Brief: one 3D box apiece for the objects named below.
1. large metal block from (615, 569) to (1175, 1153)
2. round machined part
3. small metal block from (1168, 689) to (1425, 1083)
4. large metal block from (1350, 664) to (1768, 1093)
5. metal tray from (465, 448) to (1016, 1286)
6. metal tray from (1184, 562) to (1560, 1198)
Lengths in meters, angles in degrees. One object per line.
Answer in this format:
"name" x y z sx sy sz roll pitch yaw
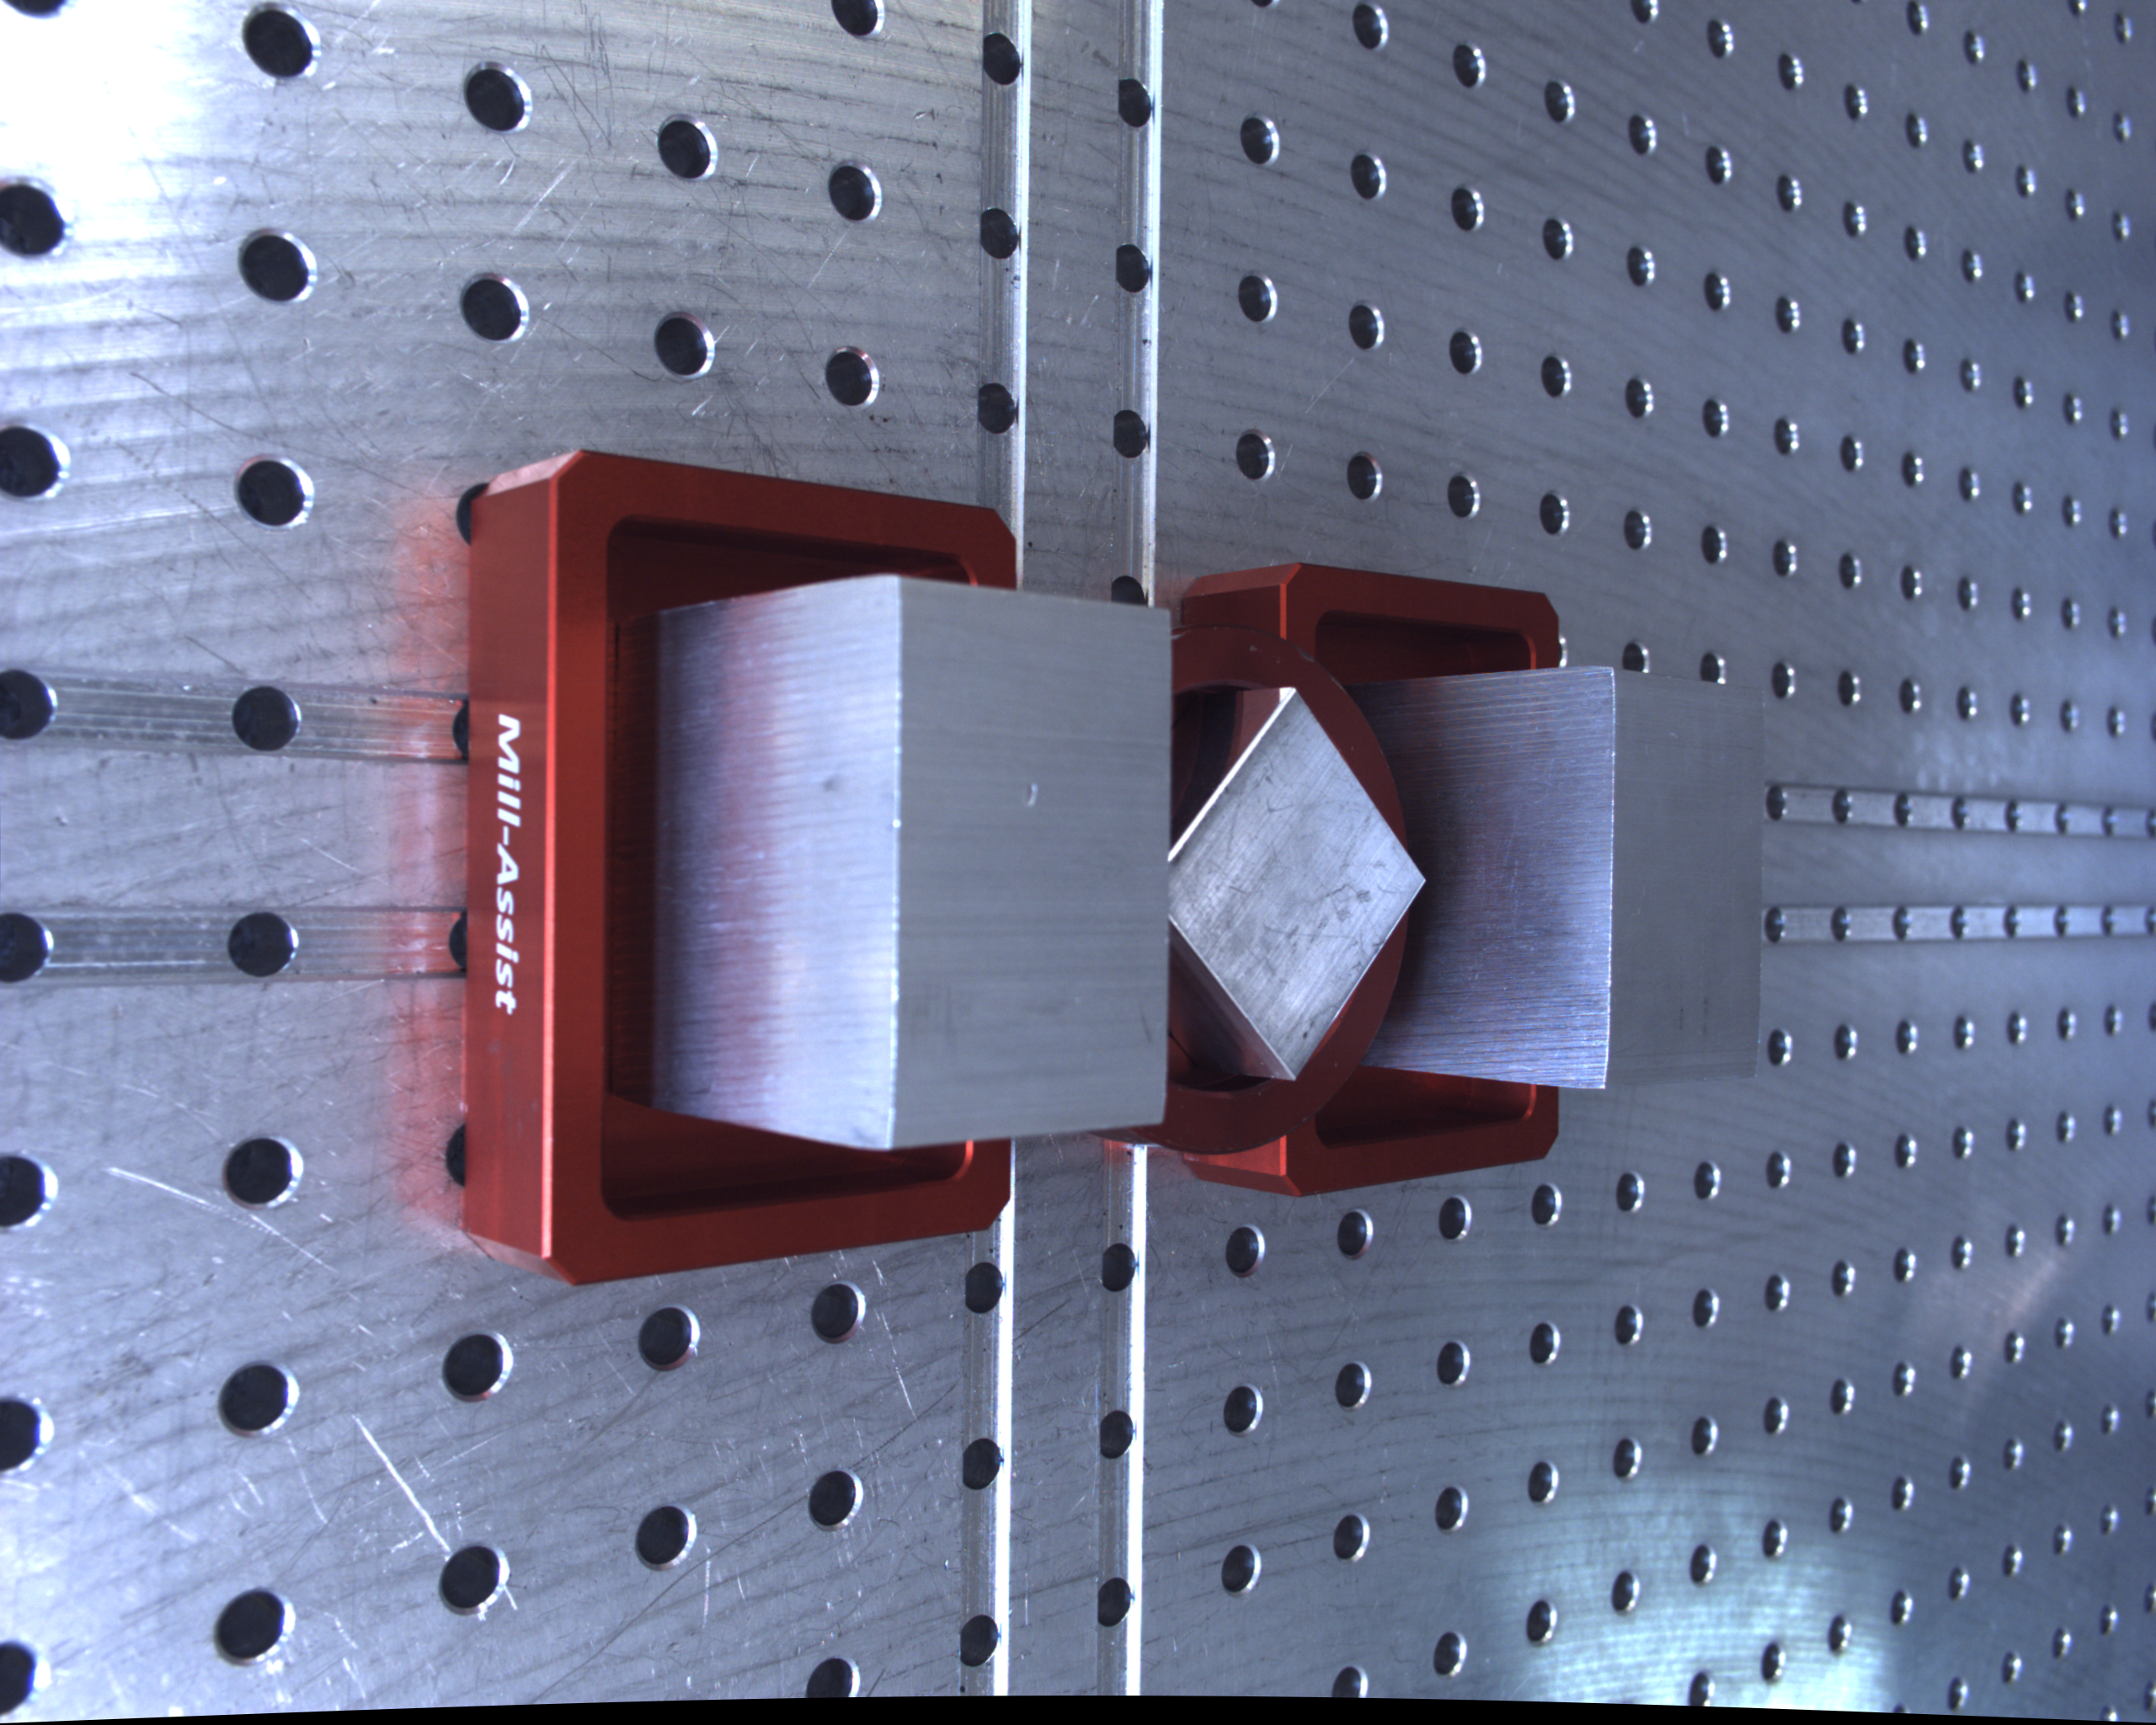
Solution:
"large metal block" -0.031 0.000 0.330 0.050 0.080 0.080 1 90 -40
"round machined part" 0.015 0.005 0.399 0.099 0.042 0.097 0 90 -40
"small metal block" 0.030 0.004 0.381 0.050 0.025 0.050 52 60 -27
"large metal block" 0.093 0.003 0.433 0.050 0.080 0.080 2 89 -40
"metal tray" -0.055 0.001 0.358 0.091 0.030 0.129 1 89 -40
"metal tray" 0.066 0.003 0.460 0.091 0.030 0.129 0 90 -40
